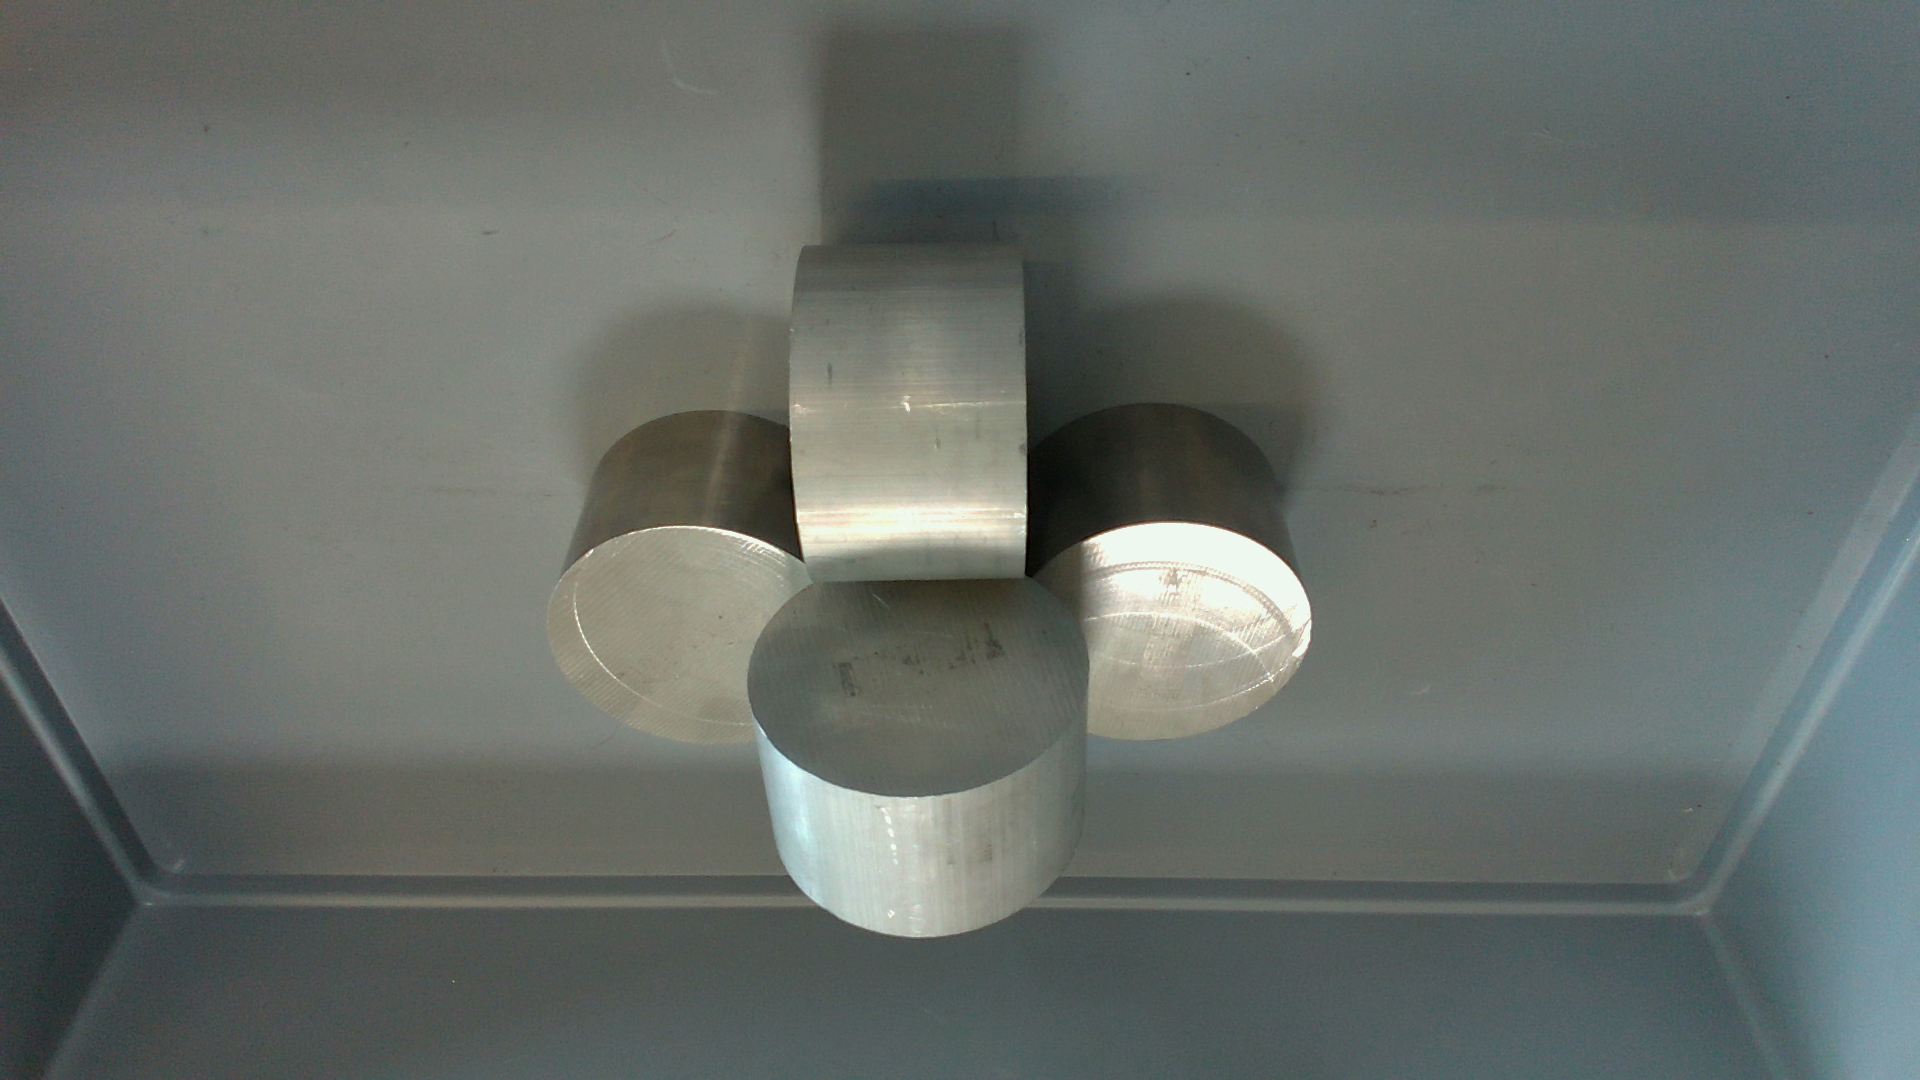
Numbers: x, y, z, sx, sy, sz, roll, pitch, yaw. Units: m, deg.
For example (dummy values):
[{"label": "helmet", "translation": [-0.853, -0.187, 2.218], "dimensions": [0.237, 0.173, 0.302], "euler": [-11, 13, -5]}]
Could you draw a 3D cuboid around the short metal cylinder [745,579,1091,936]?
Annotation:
[{"label": "short metal cylinder", "translation": [-0.009, 0.048, 0.335], "dimensions": [0.080, 0.080, 0.050], "euler": [-1, 130, 1]}]

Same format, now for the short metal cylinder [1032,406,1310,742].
[{"label": "short metal cylinder", "translation": [0.052, 0.010, 0.381], "dimensions": [0.080, 0.050, 0.080], "euler": [0, 130, 0]}]

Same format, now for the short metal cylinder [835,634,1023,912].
[{"label": "short metal cylinder", "translation": [-0.008, 0.069, 0.411], "dimensions": [0.050, 0.080, 0.080], "euler": [-2, 130, 1]}]

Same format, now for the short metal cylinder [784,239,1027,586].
[{"label": "short metal cylinder", "translation": [-0.011, -0.030, 0.327], "dimensions": [0.050, 0.080, 0.080], "euler": [-2, 130, 1]}]

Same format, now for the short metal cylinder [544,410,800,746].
[{"label": "short metal cylinder", "translation": [-0.069, 0.011, 0.381], "dimensions": [0.080, 0.050, 0.080], "euler": [0, 130, 0]}]
